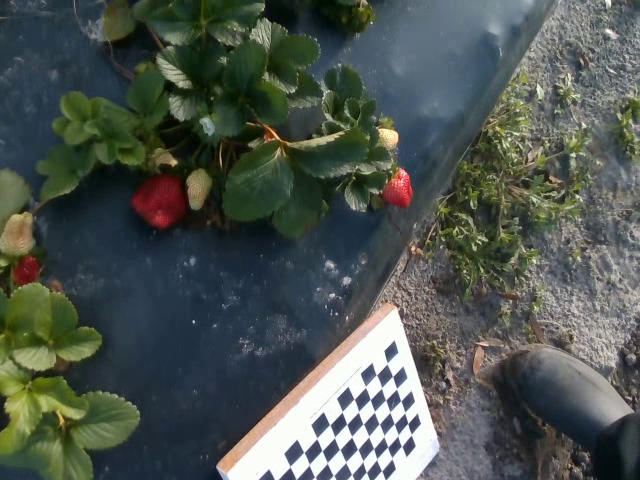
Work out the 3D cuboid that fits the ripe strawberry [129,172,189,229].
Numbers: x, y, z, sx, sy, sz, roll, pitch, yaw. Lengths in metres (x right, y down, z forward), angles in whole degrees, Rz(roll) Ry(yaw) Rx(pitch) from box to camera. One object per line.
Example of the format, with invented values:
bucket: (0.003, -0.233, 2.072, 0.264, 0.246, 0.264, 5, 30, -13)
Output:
ripe strawberry: (-0.171, -0.038, 0.665, 0.057, 0.058, 0.070, 1, 26, 25)
